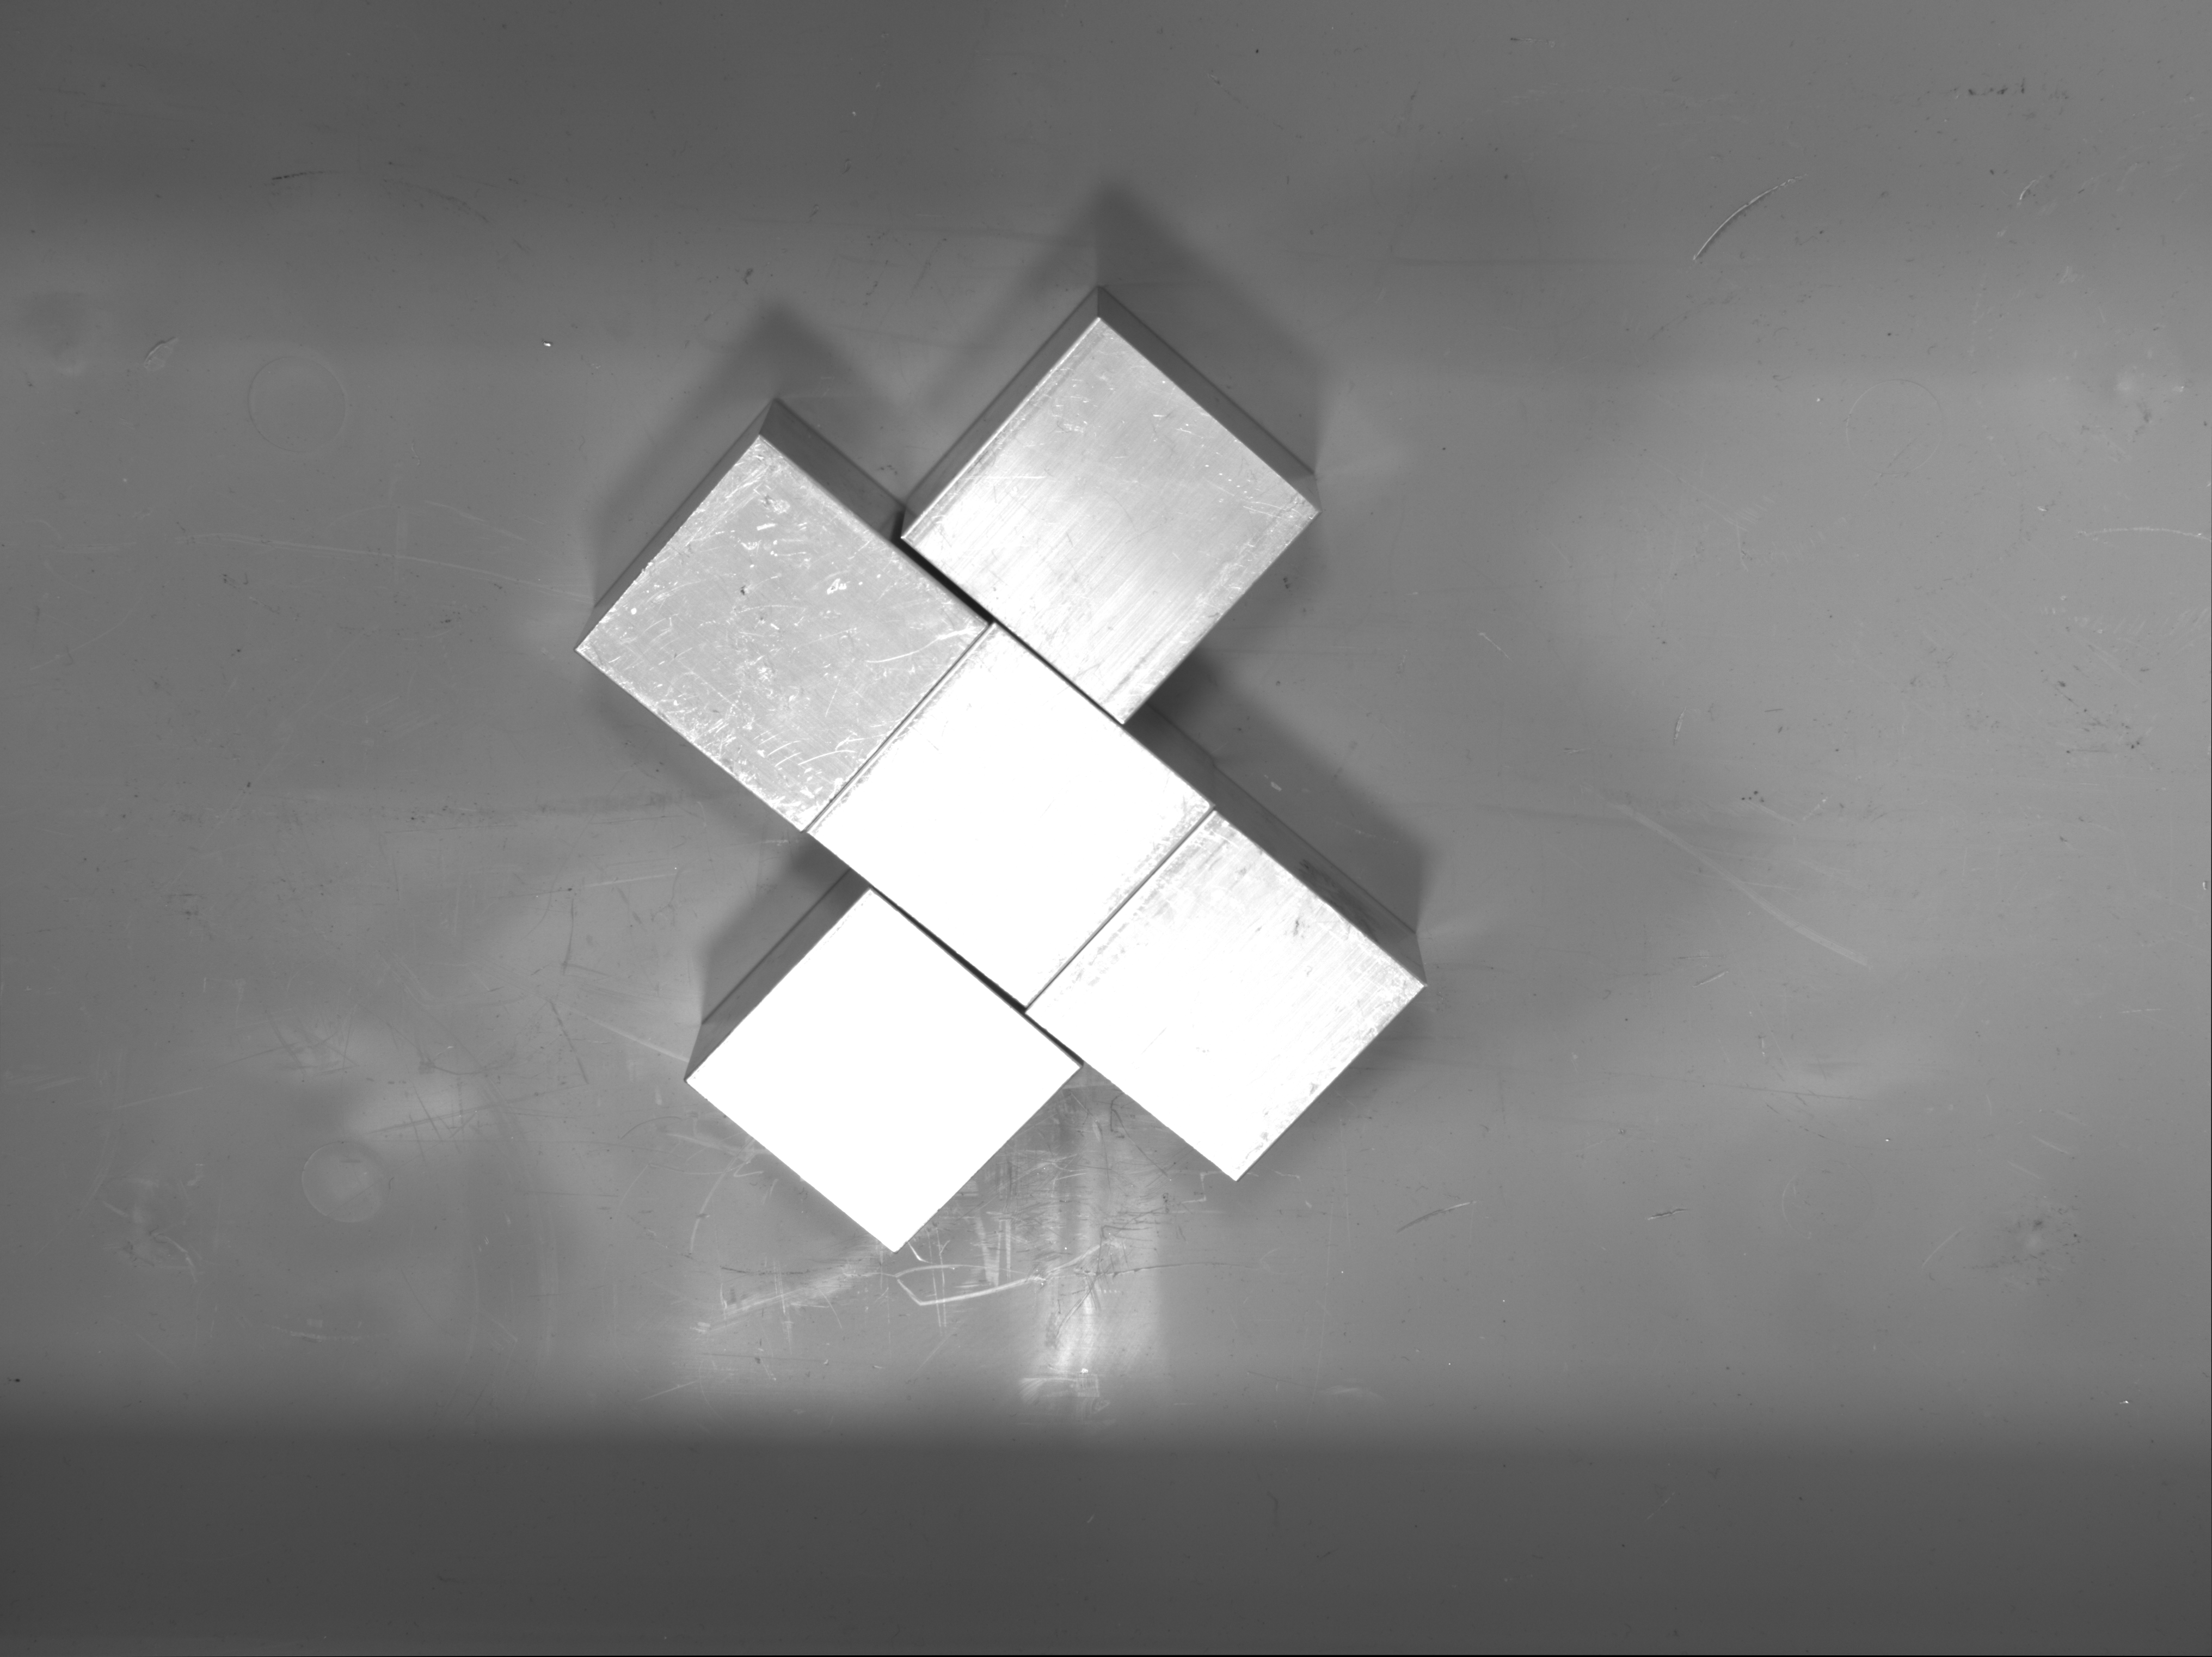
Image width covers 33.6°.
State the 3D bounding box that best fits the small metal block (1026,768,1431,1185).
[{"bbox_3d":[0.021,0.026,0.651,0.050,0.025,0.050,40,105,-13],"label":"small metal block"}]

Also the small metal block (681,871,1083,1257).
[{"bbox_3d":[-0.039,0.039,0.656,0.050,0.025,0.050,41,106,-13],"label":"small metal block"}]

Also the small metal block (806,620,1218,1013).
[{"bbox_3d":[-0.016,-0.005,0.639,0.050,0.025,0.050,40,105,-13],"label":"small metal block"}]

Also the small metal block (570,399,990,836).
[{"bbox_3d":[-0.055,-0.036,0.628,0.050,0.025,0.050,40,105,-13],"label":"small metal block"}]

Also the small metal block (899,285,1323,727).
[{"bbox_3d":[0.001,-0.055,0.622,0.050,0.025,0.050,40,104,-13],"label":"small metal block"}]
